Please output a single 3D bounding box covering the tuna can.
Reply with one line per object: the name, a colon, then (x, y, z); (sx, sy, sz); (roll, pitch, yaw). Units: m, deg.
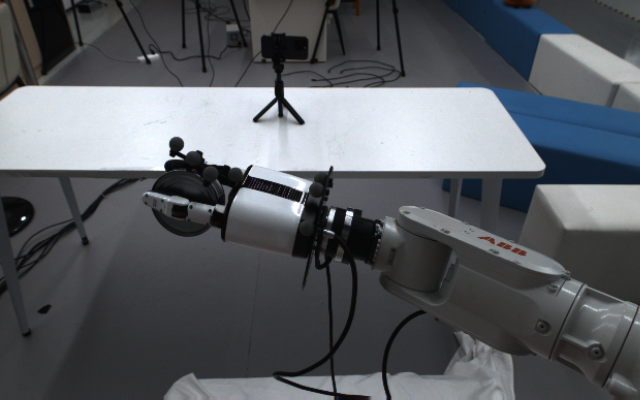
tuna can: (-0.162, 0.000, 0.600); (0.085, 0.085, 0.034); (7, 16, 6)
